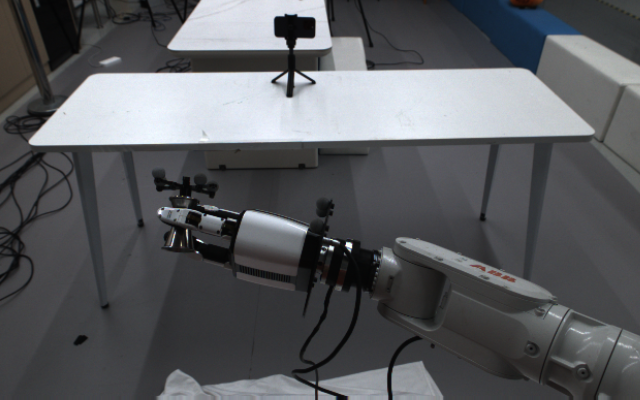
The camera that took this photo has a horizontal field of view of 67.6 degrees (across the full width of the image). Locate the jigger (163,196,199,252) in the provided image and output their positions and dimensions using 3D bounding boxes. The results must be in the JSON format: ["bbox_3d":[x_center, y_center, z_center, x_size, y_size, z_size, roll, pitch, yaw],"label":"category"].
[{"bbox_3d":[-0.181,0.032,0.632,0.043,0.043,0.071,3,77,1],"label":"jigger"}]
